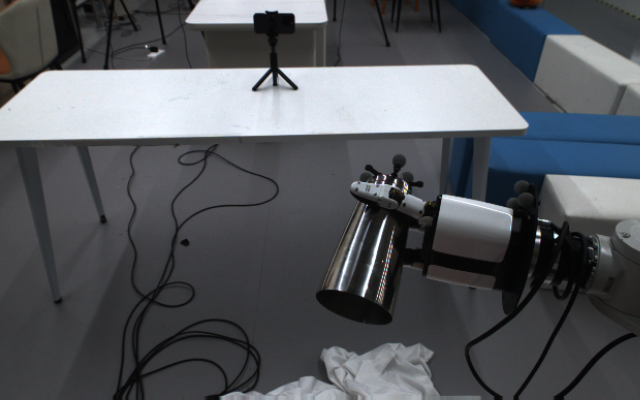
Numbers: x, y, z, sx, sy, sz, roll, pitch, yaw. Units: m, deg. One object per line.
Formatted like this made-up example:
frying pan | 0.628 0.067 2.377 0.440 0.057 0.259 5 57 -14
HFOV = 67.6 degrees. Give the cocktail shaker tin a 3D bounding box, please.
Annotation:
cocktail shaker tin | 0.065 0.052 0.595 0.093 0.093 0.170 13 59 16
